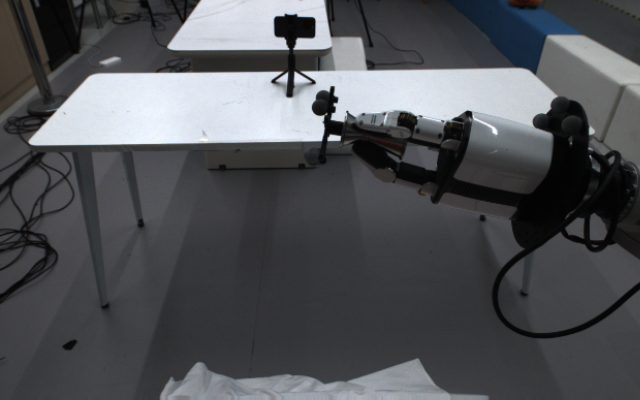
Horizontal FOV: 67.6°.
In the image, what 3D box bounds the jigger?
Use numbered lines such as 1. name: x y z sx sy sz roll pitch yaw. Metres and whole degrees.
1. jigger: 0.065 -0.073 0.522 0.071 0.043 0.043 10 35 2
